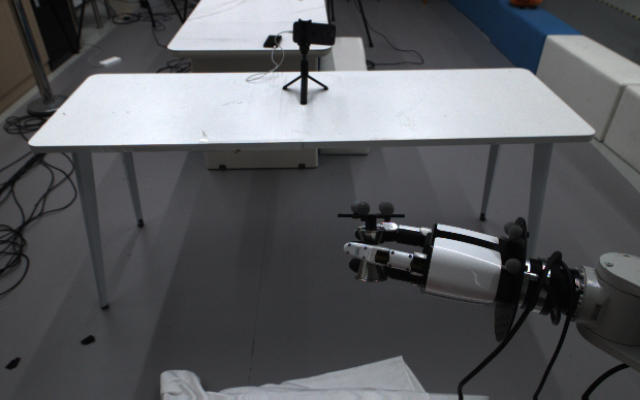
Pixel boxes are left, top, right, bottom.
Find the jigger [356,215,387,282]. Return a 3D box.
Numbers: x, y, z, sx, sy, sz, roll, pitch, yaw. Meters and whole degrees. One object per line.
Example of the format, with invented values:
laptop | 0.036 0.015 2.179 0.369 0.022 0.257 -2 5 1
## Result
jigger | 0.069 0.071 0.653 0.043 0.071 0.043 -1 2 0
